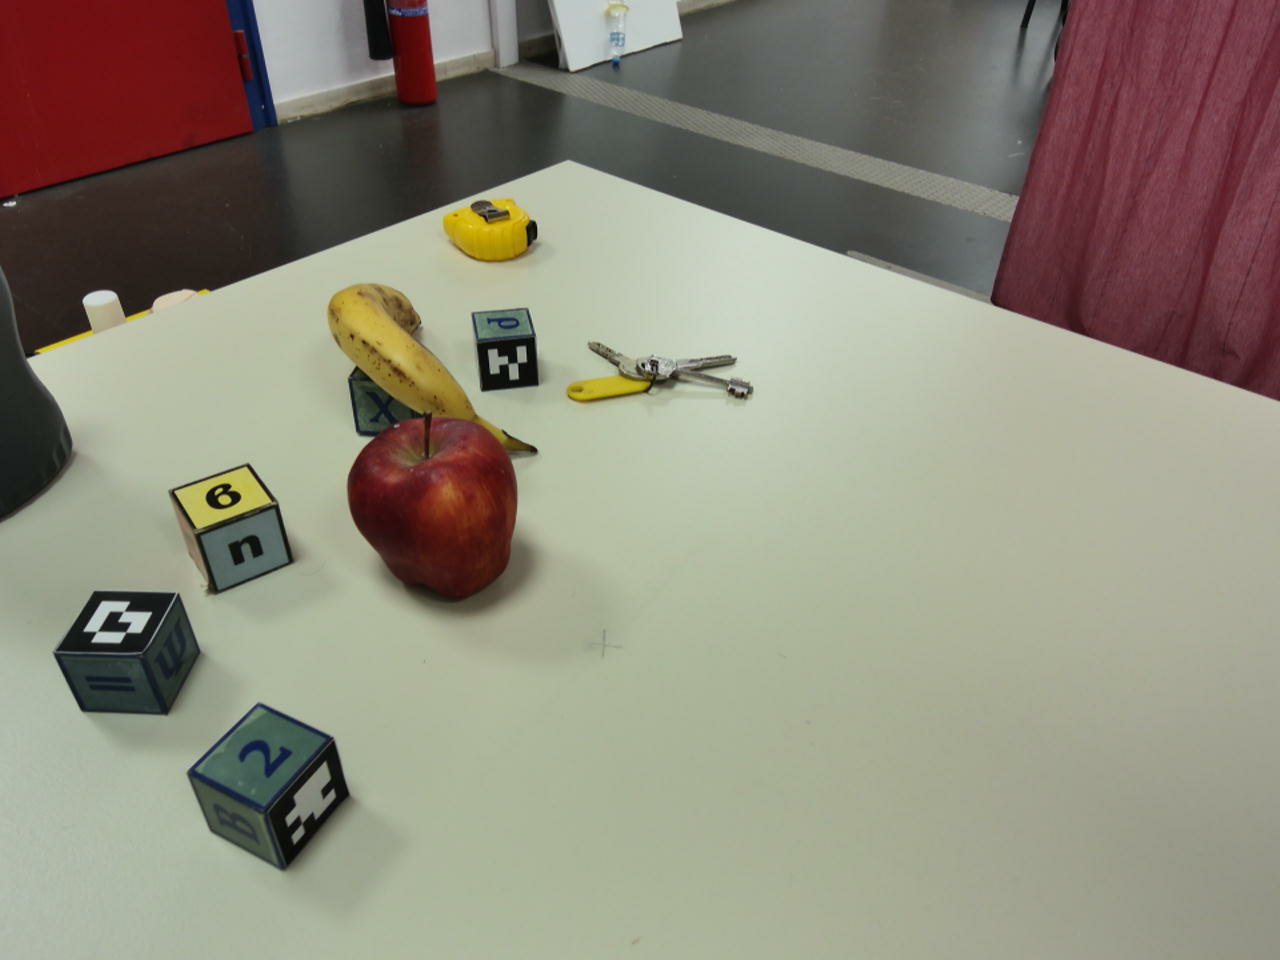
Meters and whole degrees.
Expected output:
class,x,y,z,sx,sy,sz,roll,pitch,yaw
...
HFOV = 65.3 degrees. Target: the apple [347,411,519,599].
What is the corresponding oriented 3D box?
class,x,y,z,sx,sy,sz,roll,pitch,yaw
apple,-0.098,0.008,0.477,0.083,0.090,0.083,1,37,-1
